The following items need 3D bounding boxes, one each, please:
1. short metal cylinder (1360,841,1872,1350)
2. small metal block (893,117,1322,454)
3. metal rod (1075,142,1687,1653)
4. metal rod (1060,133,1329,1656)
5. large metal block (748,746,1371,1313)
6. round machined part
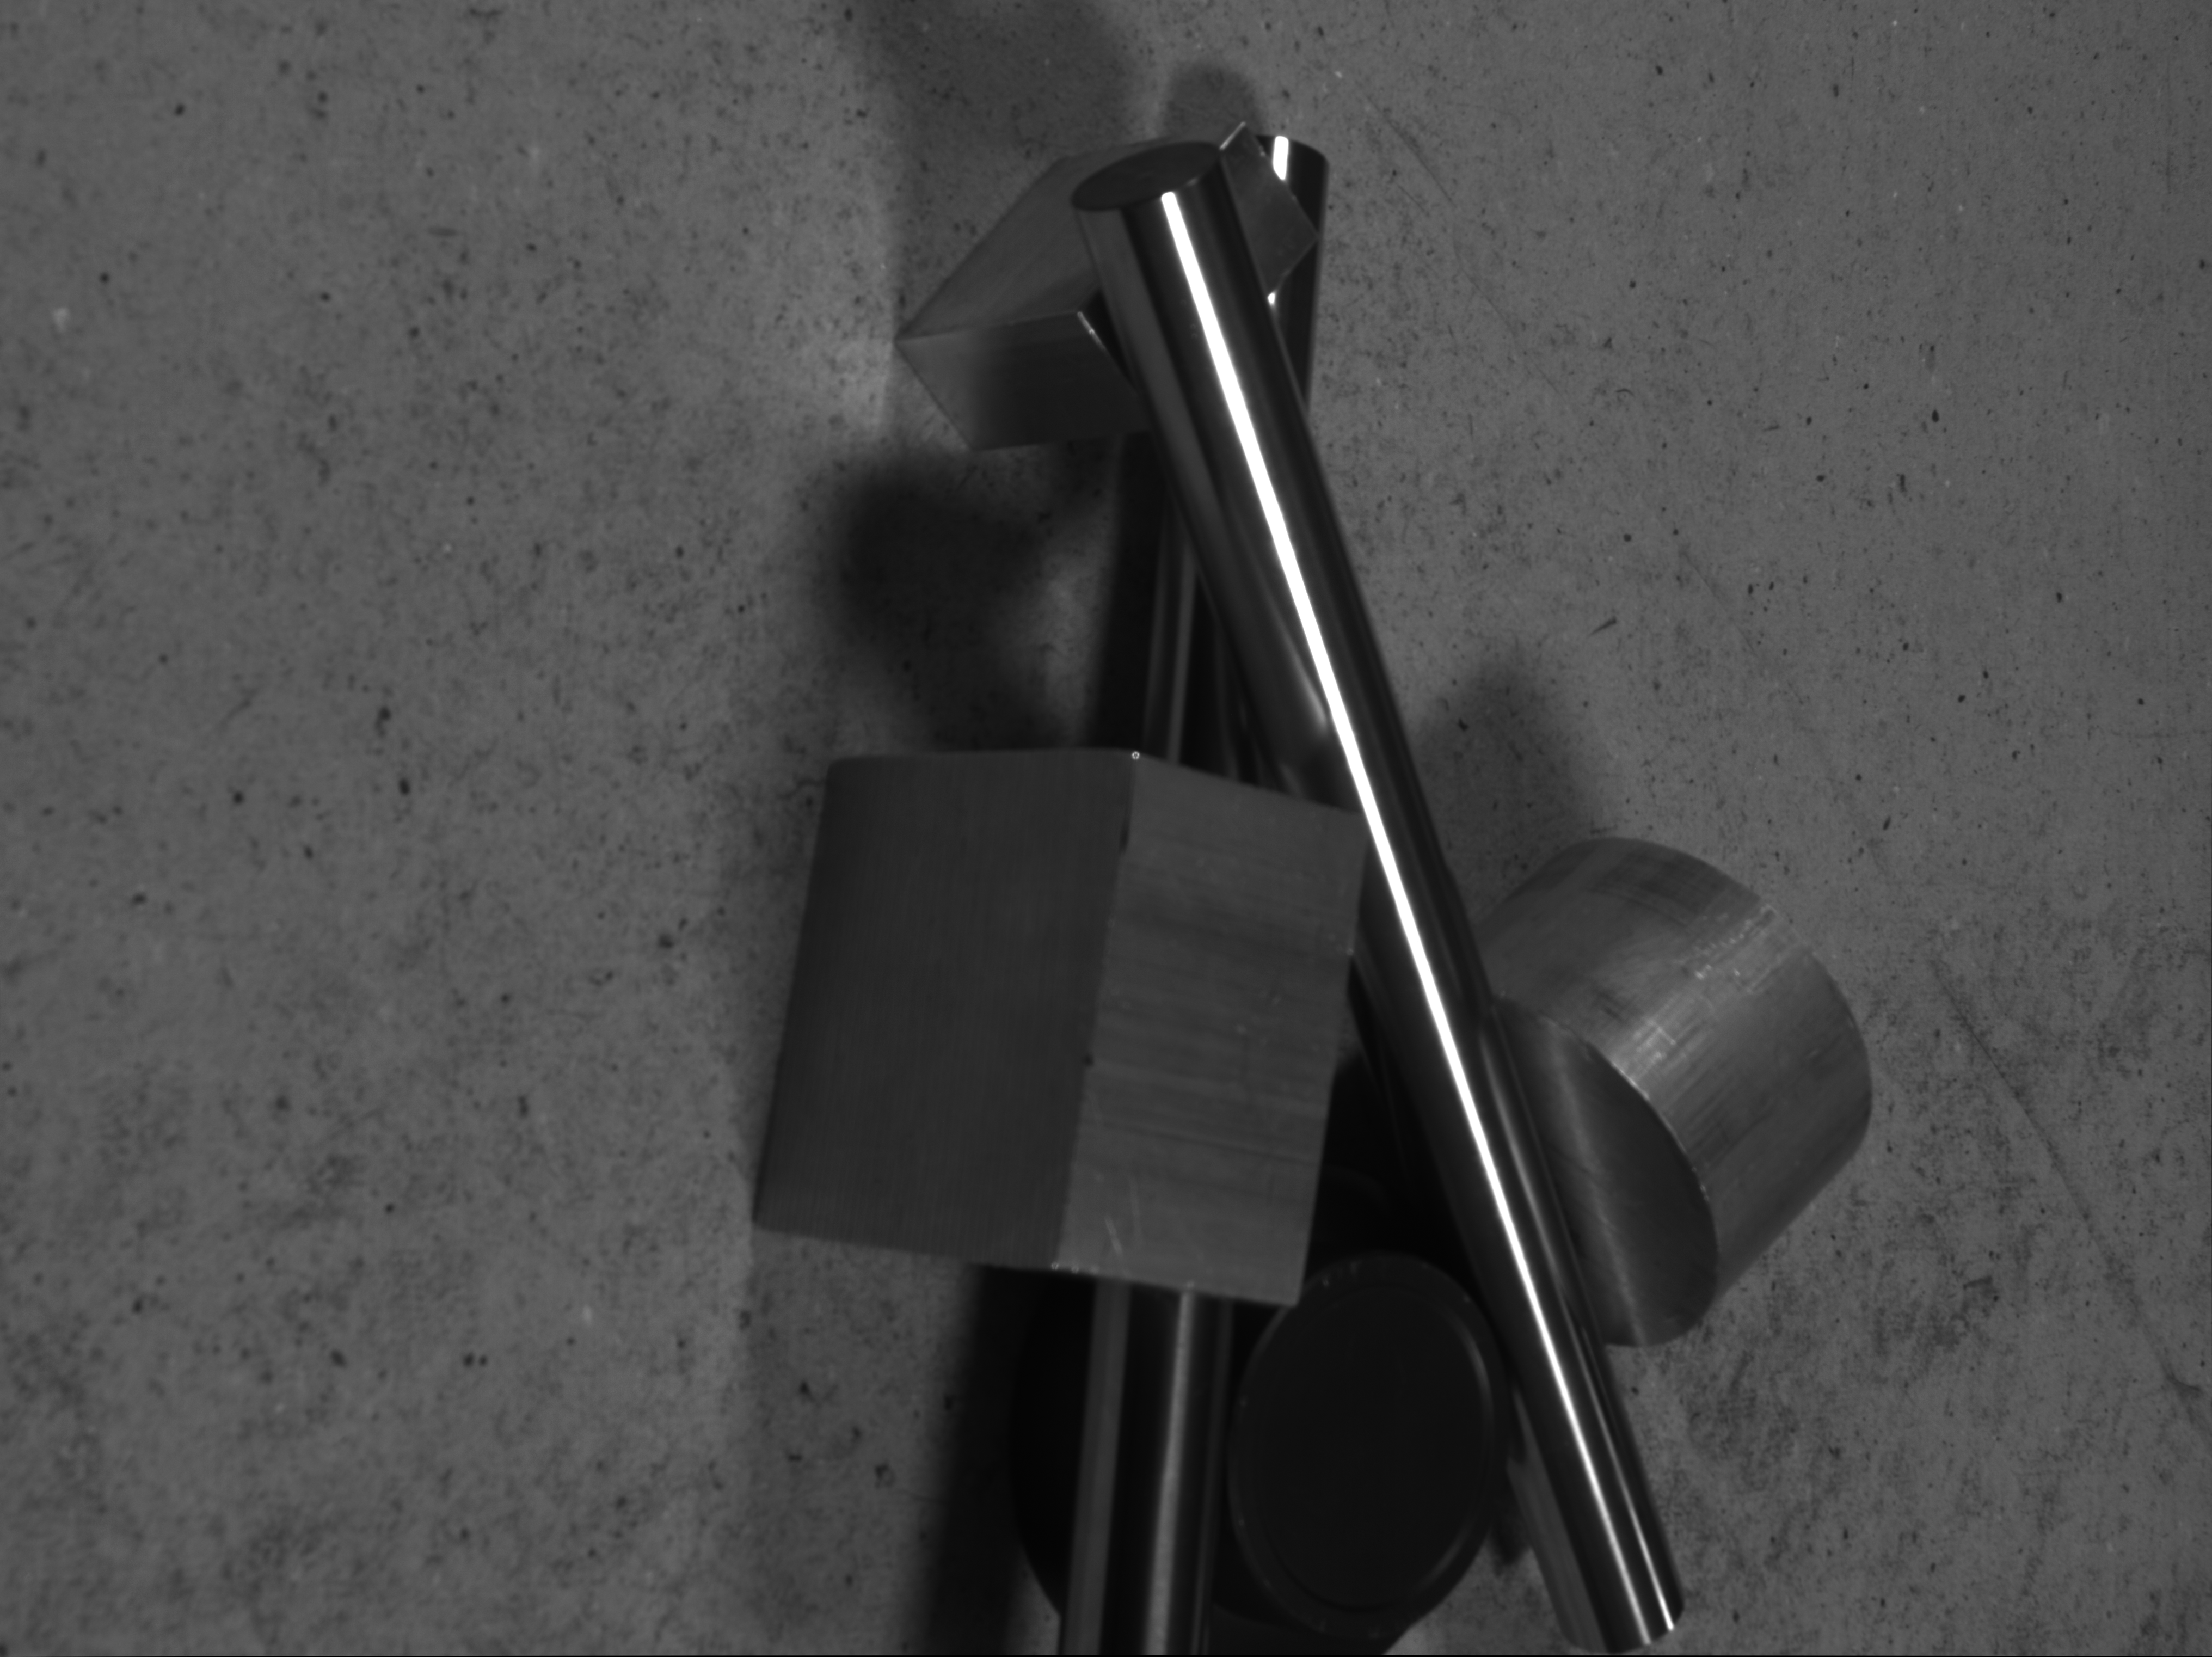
[{"bbox_3d":[0.094,0.050,0.681,0.050,0.080,0.080,-39,114,-33],"label":"short metal cylinder"},{"bbox_3d":[0.000,-0.091,0.621,0.050,0.050,0.025,-52,120,-27],"label":"small metal block"},{"bbox_3d":[0.053,0.024,0.637,0.025,0.025,0.300,-39,123,-33],"label":"metal rod"},{"bbox_3d":[0.015,0.025,0.630,0.025,0.025,0.300,15,74,-39],"label":"metal rod"},{"bbox_3d":[-0.008,0.032,0.595,0.050,0.080,0.080,15,80,-39],"label":"large metal block"},{"bbox_3d":[0.034,0.109,0.655,0.098,0.042,0.098,0,90,-40],"label":"round machined part"}]
